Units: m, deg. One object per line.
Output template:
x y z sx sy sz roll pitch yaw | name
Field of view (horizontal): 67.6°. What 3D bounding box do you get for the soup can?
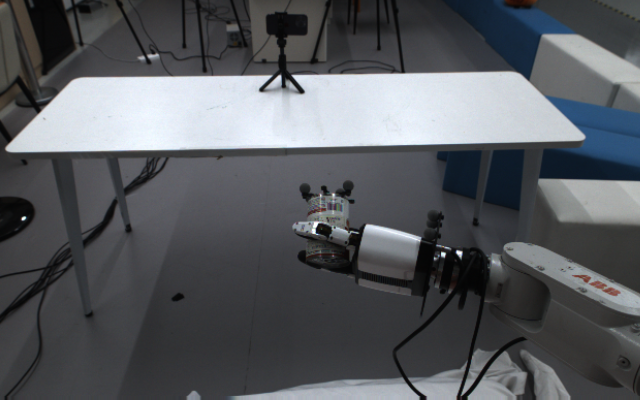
0.013 0.048 0.743 0.067 0.067 0.101 2 68 -1 | soup can
